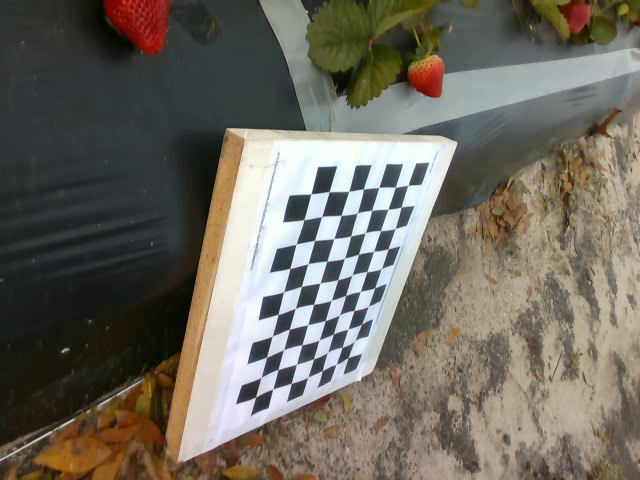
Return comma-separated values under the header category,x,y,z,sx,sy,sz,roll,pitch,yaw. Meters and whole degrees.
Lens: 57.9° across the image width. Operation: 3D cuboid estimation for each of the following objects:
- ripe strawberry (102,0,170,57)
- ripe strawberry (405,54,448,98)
category,x,y,z,sx,sy,sz,roll,pitch,yaw
ripe strawberry,-0.093,-0.120,0.297,0.036,0.046,0.040,-17,-6,-28
ripe strawberry,0.095,-0.157,0.538,0.039,0.047,0.041,-33,41,-14
